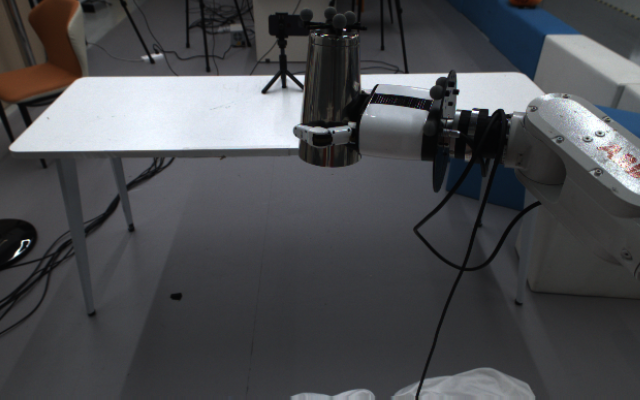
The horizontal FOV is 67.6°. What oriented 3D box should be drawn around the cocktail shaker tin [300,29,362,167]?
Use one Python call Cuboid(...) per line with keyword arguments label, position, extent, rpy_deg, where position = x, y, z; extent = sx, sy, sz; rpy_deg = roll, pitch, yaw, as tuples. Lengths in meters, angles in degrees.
Cuboid(label="cocktail shaker tin", position=(0.018, -0.143, 0.665), extent=(0.093, 0.170, 0.093), rpy_deg=(1, 28, -1))
